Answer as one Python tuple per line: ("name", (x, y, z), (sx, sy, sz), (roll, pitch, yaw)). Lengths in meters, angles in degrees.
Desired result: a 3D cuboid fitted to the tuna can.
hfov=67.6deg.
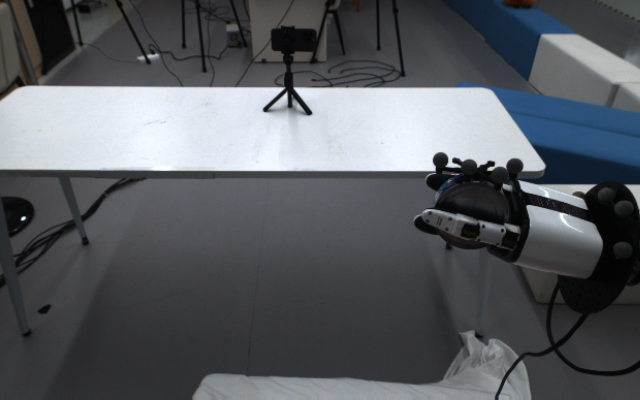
("tuna can", (0.177, 0.010, 0.568), (0.085, 0.085, 0.034), (9, 24, 10))
